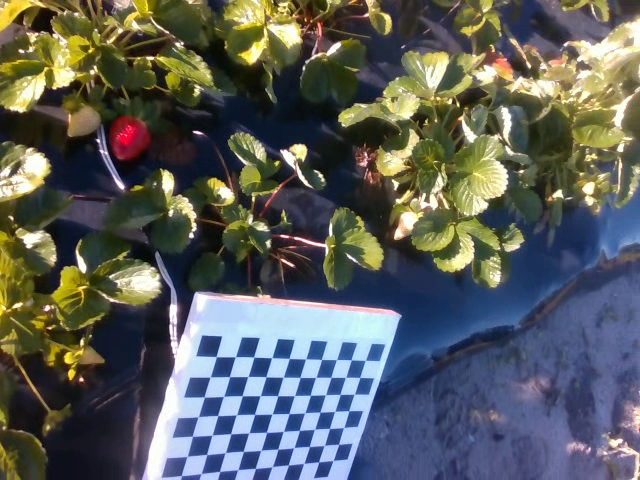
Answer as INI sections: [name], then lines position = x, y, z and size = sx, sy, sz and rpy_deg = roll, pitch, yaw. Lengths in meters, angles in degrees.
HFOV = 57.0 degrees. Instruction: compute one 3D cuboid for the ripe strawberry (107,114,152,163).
[ripe strawberry]
position = -0.238, -0.131, 0.747
size = 0.040, 0.080, 0.063
rpy_deg = -19, -46, 30
